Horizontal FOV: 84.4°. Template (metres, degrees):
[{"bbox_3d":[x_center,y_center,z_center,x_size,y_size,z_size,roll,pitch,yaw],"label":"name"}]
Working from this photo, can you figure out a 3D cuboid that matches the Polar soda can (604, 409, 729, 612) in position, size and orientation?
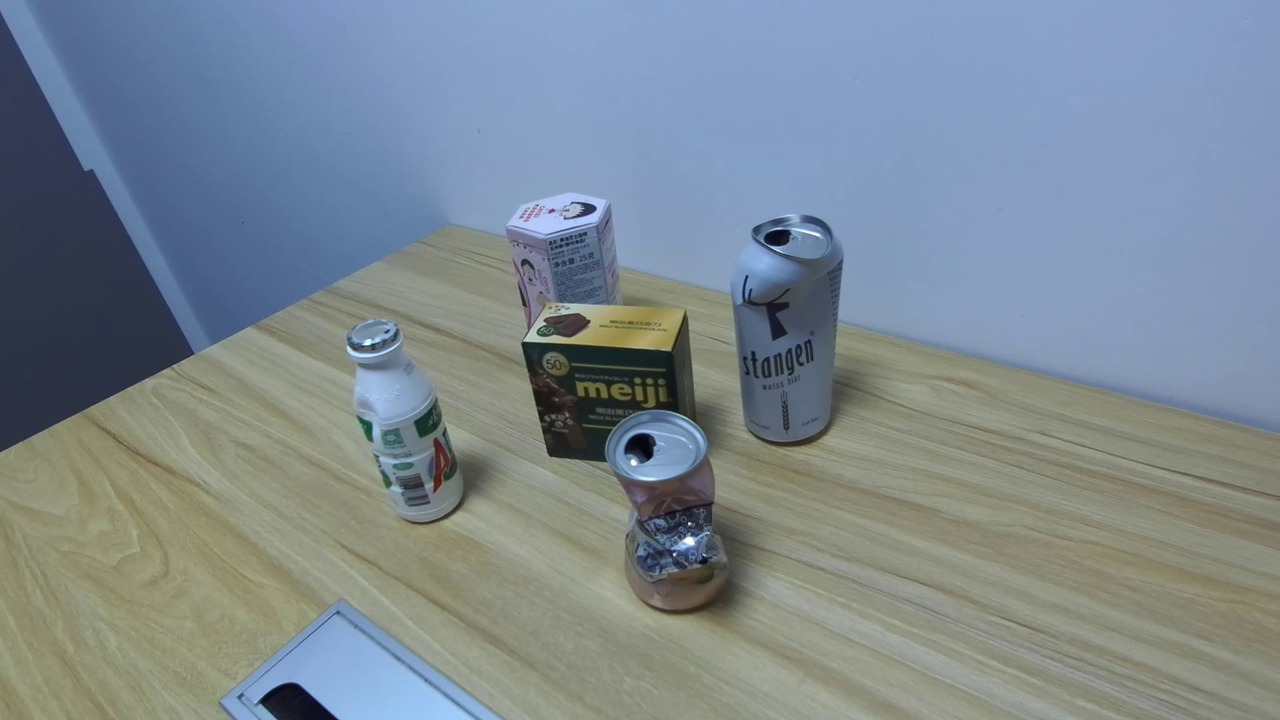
[{"bbox_3d":[0.017,0.089,0.408,0.074,0.114,0.070,8,43,26],"label":"Polar soda can"}]

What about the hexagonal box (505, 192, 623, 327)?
[{"bbox_3d":[-0.062,-0.066,0.620,0.084,0.136,0.091,1,34,10],"label":"hexagonal box"}]

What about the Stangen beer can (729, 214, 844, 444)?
[{"bbox_3d":[0.104,-0.017,0.500,0.065,0.162,0.077,7,38,20],"label":"Stangen beer can"}]

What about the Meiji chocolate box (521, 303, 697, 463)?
[{"bbox_3d":[-0.019,0.019,0.515,0.109,0.109,0.056,4,36,15],"label":"Meiji chocolate box"}]

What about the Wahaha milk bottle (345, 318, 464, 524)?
[{"bbox_3d":[-0.159,0.048,0.477,0.053,0.137,0.053,-3,33,3],"label":"Wahaha milk bottle"}]
